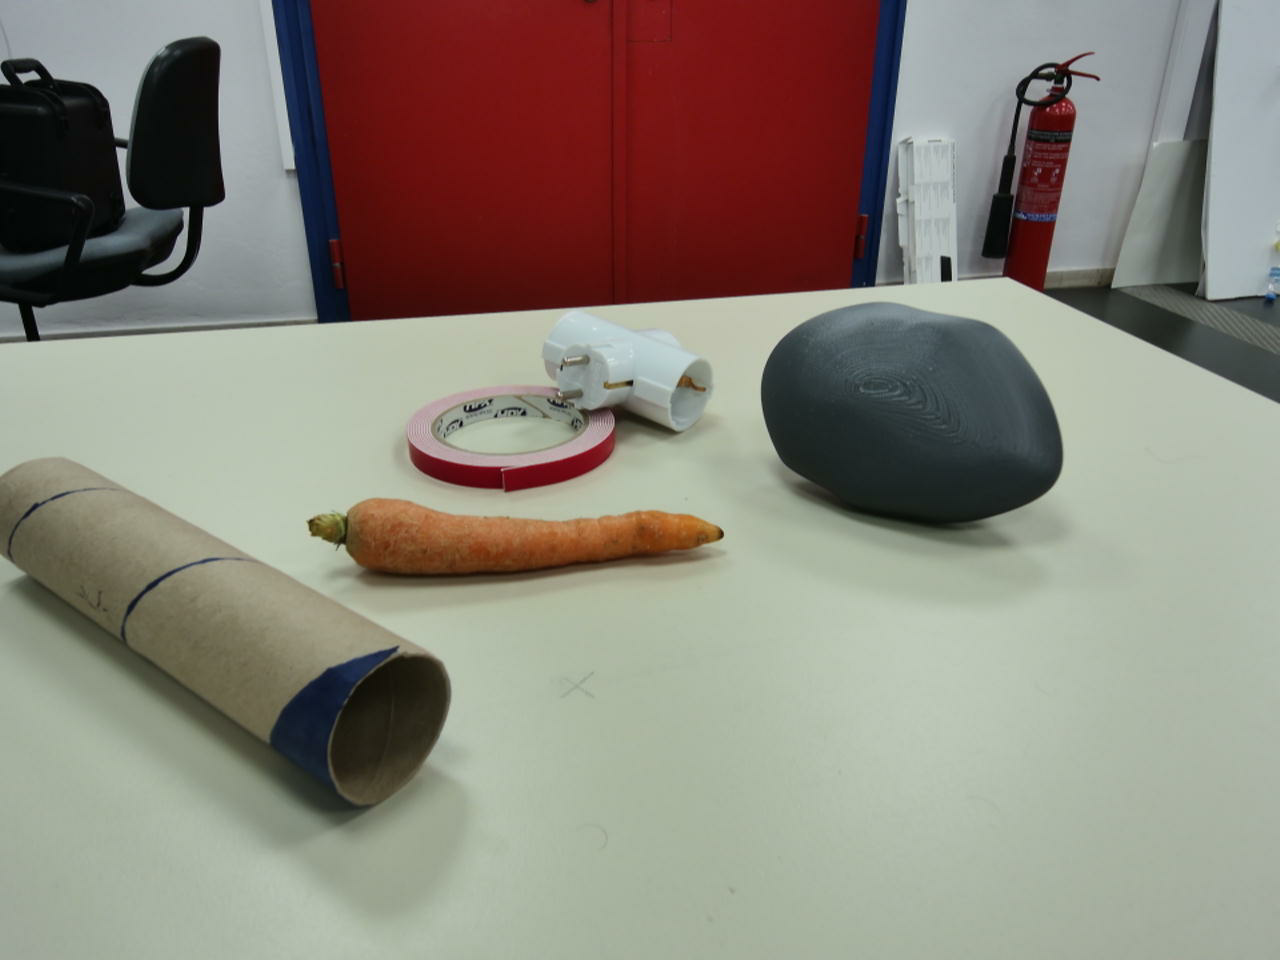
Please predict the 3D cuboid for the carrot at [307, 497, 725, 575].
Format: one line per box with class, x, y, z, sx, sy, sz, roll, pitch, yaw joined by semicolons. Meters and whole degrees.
carrot;-0.048;0.022;0.417;0.173;0.032;0.030;-2;24;-4
